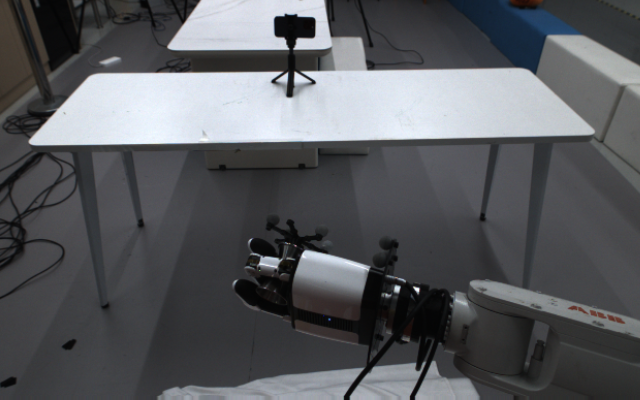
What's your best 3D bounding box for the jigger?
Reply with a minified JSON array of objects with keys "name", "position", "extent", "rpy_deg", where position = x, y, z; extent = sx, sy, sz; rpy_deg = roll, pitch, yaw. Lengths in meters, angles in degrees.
[{"name":"jigger","position":[-0.044,0.092,0.610],"extent":[0.043,0.043,0.071],"rpy_deg":[13,58,16]}]
